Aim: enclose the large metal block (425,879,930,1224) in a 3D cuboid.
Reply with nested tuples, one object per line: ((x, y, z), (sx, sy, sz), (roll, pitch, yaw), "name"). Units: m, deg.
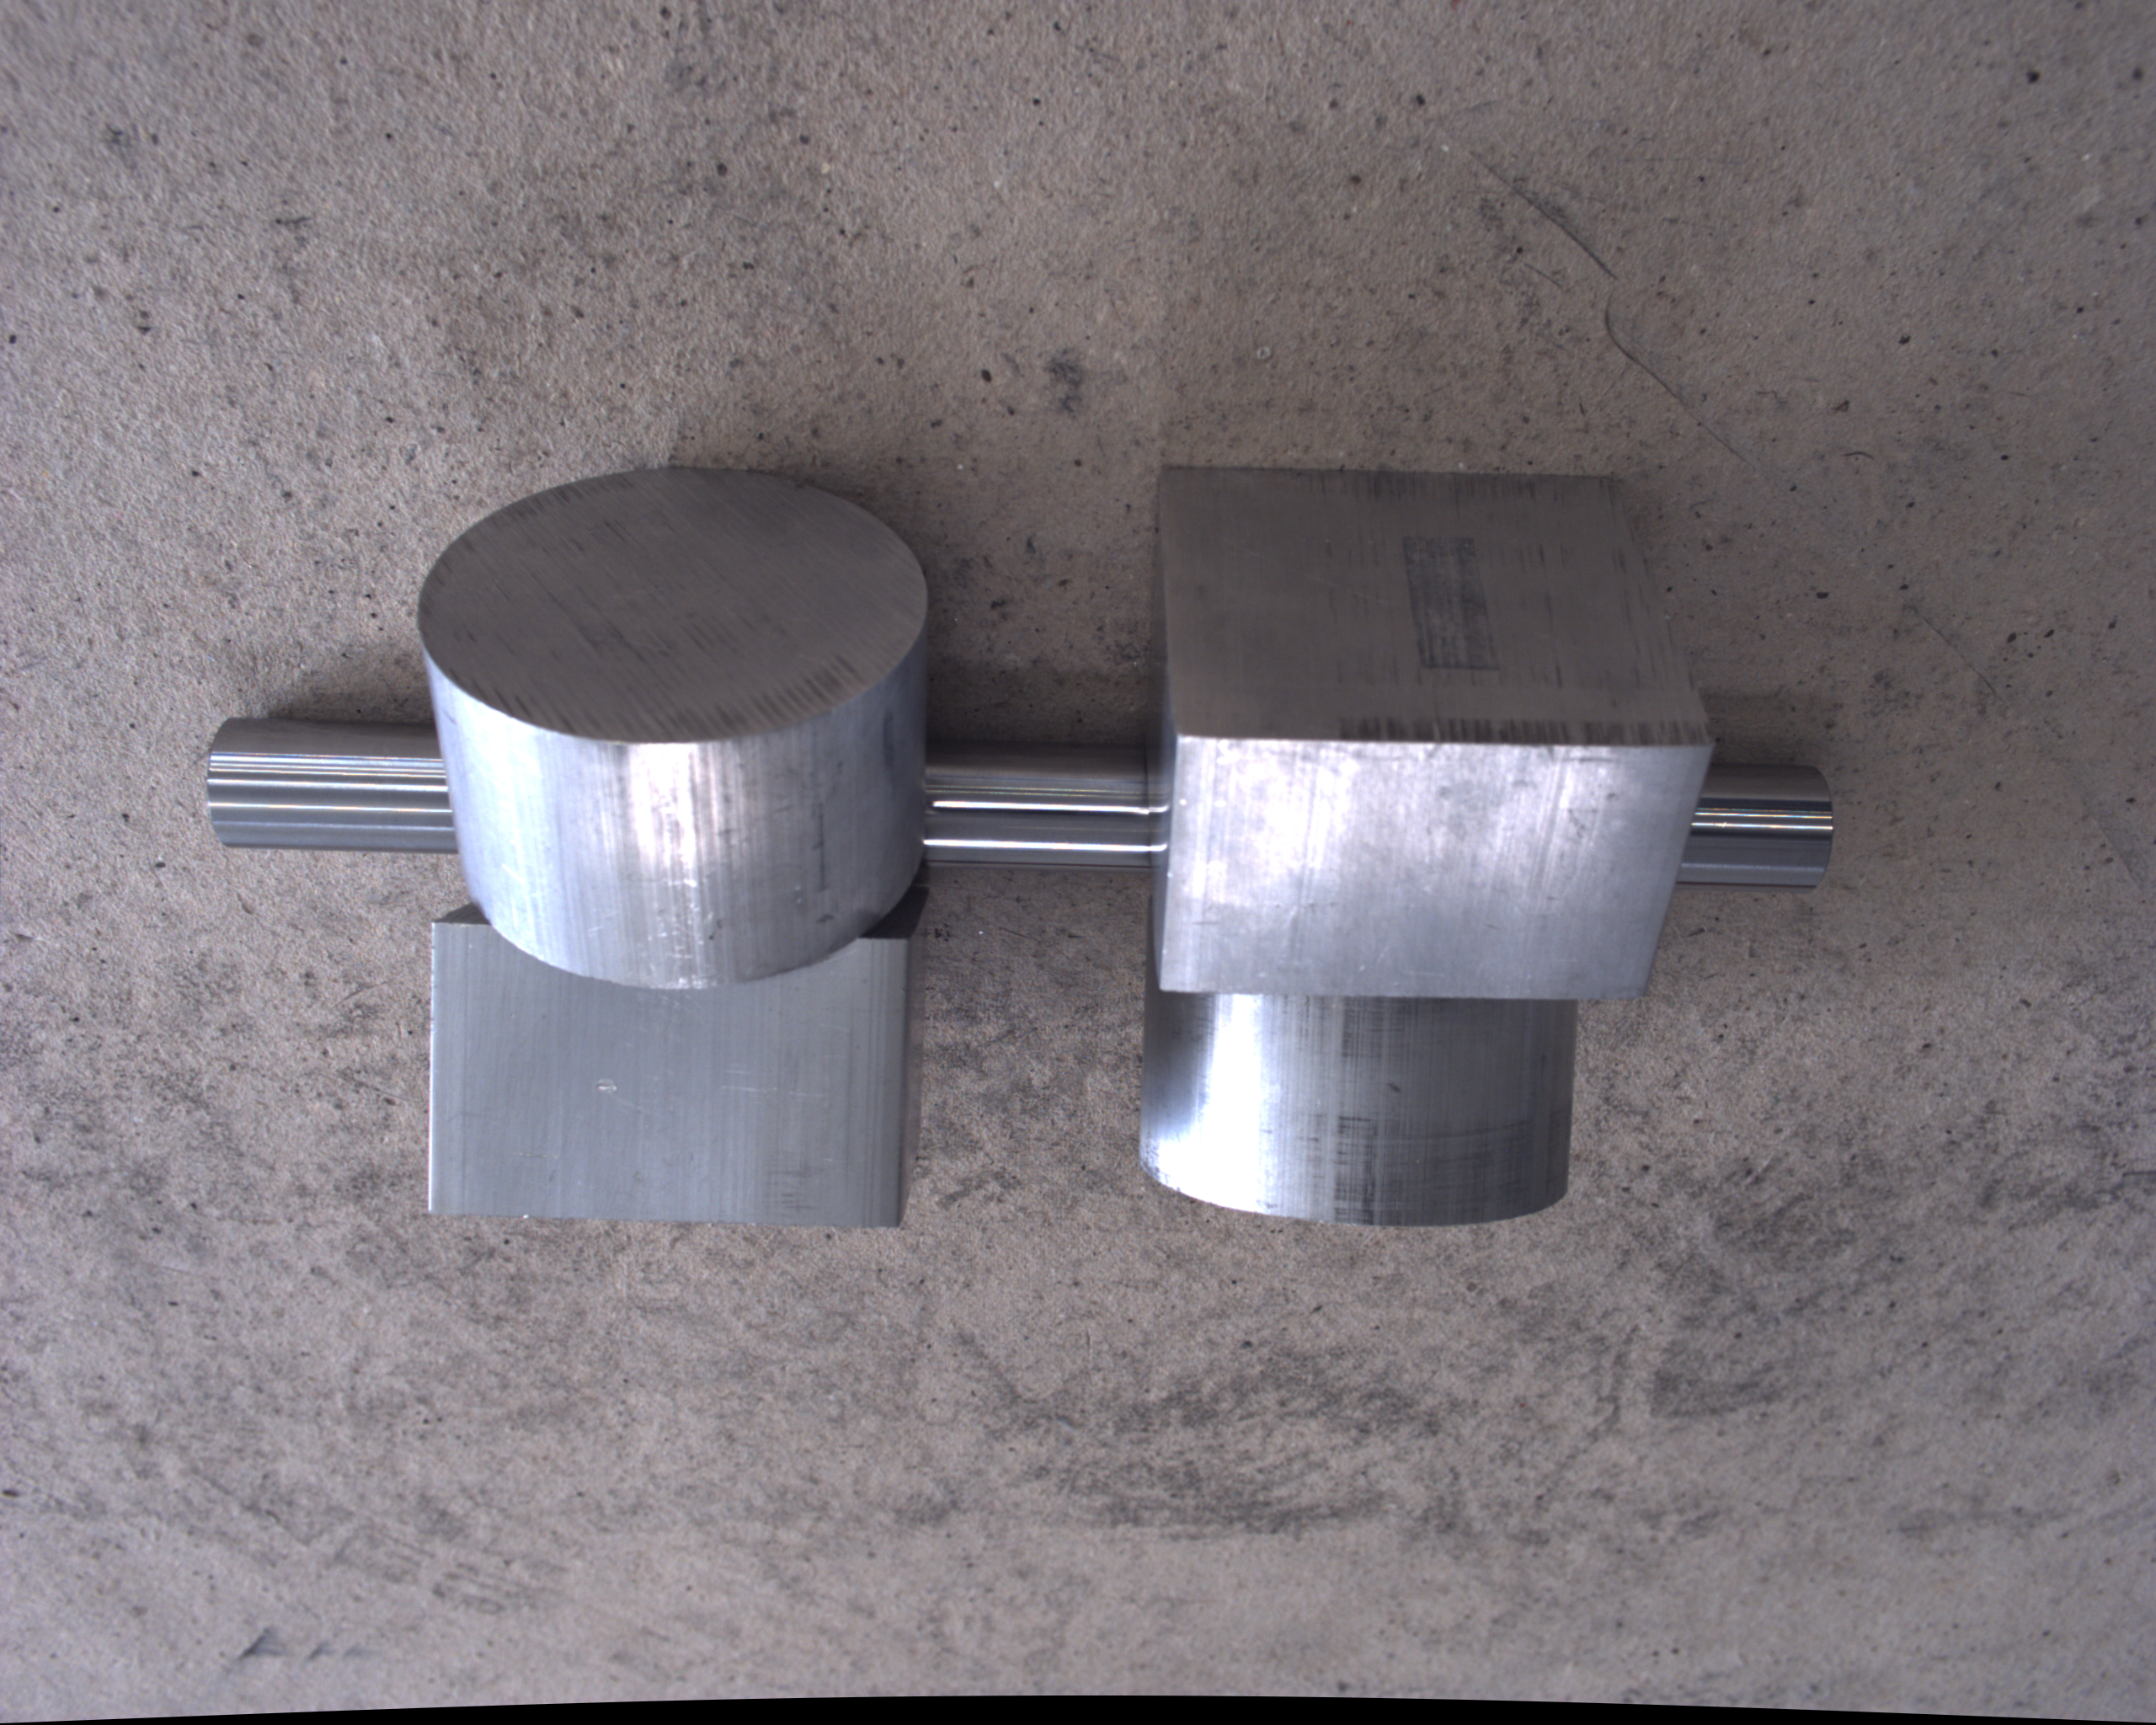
((-0.070, 0.031, 0.391), (0.081, 0.080, 0.050), (2, 96, -2), "large metal block")

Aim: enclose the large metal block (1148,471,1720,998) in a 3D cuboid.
((0.054, -0.023, 0.353), (0.081, 0.080, 0.050), (1, 130, -1), "large metal block")

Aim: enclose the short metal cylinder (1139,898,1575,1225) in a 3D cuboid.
((0.052, 0.033, 0.393), (0.081, 0.080, 0.050), (1, 95, -1), "short metal cylinder")

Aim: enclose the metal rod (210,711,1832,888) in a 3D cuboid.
((-0.009, -0.012, 0.401), (0.302, 0.025, 0.025), (2, 130, -2), "metal rod")

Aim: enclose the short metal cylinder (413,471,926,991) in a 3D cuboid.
((-0.066, -0.024, 0.351), (0.081, 0.080, 0.050), (3, 130, -3), "short metal cylinder")
